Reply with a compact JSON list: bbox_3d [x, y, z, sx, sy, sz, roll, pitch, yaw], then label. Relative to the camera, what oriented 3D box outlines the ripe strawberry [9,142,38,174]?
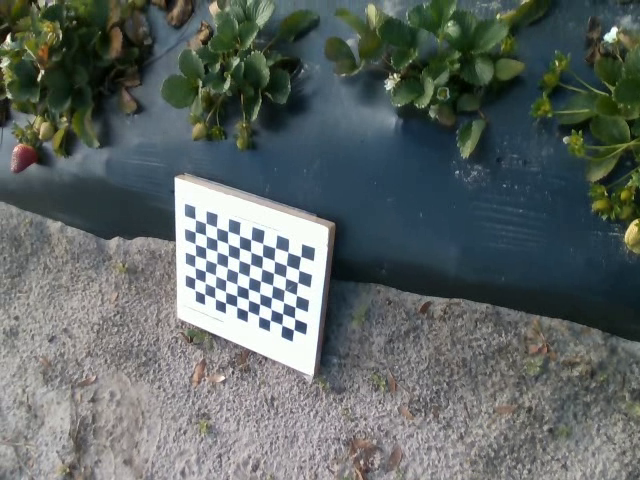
[{"bbox_3d":[-0.615,-0.165,1.379,0.052,0.068,0.044,14,-14,27],"label":"ripe strawberry"}]
